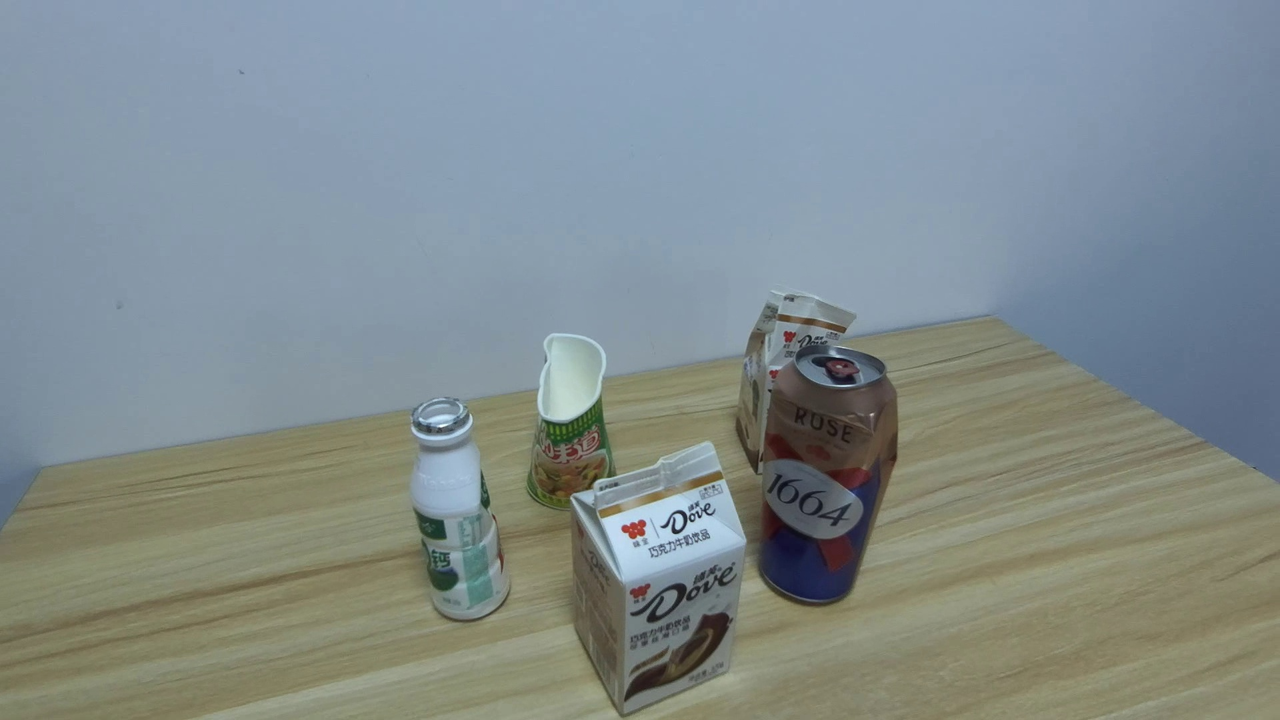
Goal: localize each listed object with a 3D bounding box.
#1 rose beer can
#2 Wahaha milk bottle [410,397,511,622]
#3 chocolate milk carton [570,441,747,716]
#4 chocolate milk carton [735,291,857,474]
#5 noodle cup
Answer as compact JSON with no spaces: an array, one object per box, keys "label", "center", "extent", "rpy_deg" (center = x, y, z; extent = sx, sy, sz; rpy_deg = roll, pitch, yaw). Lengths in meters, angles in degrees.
[{"label":"rose beer can","center":[0.116,0.074,0.447],"extent":[0.065,0.167,0.075],"rpy_deg":[-20,32,-36]},{"label":"Wahaha milk bottle","center":[-0.112,0.093,0.437],"extent":[0.056,0.148,0.056],"rpy_deg":[0,28,0]},{"label":"chocolate milk carton","center":[0.009,0.112,0.397],"extent":[0.075,0.148,0.073],"rpy_deg":[-12,33,-21]},{"label":"chocolate milk carton","center":[0.122,0.012,0.559],"extent":[0.076,0.155,0.073],"rpy_deg":[-3,28,-7]},{"label":"noodle cup","center":[-0.053,0.055,0.542],"extent":[0.070,0.111,0.115],"rpy_deg":[8,29,15]}]
